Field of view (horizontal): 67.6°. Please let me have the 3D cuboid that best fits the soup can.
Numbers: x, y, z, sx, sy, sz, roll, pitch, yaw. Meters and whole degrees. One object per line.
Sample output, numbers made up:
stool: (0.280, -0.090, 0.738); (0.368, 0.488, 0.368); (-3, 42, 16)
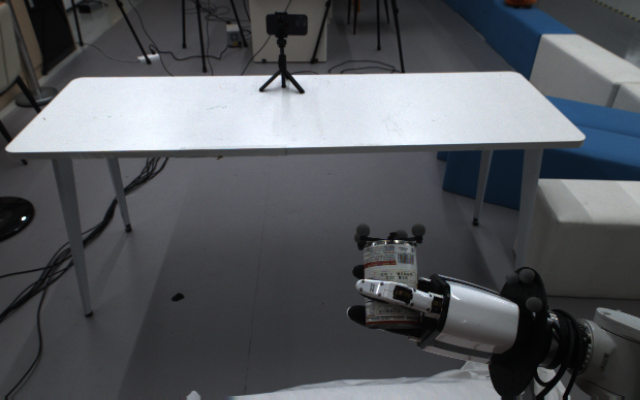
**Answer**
soup can: (0.090, 0.106, 0.599); (0.067, 0.067, 0.101); (1, 73, -2)
